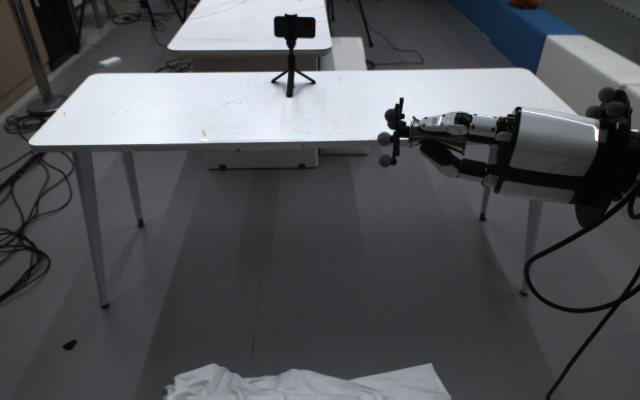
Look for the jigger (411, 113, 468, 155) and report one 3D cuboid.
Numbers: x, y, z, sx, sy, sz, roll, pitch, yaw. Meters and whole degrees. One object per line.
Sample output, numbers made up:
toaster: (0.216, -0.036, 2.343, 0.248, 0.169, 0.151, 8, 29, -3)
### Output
jigger: (0.154, -0.086, 0.602, 0.071, 0.043, 0.043, 8, 35, 15)
